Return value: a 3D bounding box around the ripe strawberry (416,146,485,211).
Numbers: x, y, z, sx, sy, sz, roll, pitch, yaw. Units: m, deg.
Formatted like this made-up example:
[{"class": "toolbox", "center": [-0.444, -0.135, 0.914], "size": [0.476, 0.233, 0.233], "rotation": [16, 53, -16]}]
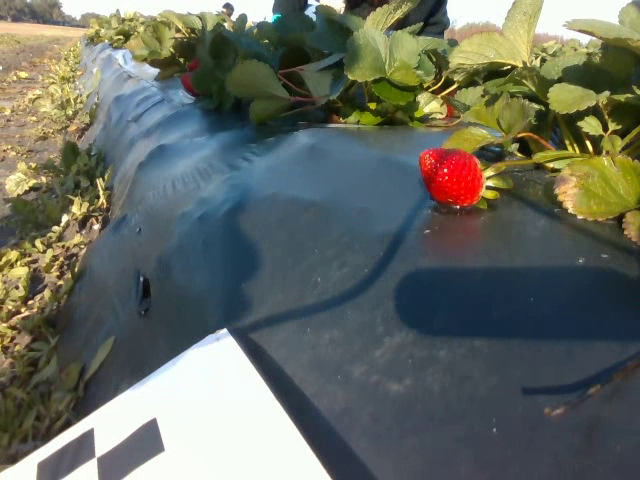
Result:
[{"class": "ripe strawberry", "center": [0.053, -0.028, 0.250], "size": [0.028, 0.031, 0.041], "rotation": [-4, -23, 46]}]
